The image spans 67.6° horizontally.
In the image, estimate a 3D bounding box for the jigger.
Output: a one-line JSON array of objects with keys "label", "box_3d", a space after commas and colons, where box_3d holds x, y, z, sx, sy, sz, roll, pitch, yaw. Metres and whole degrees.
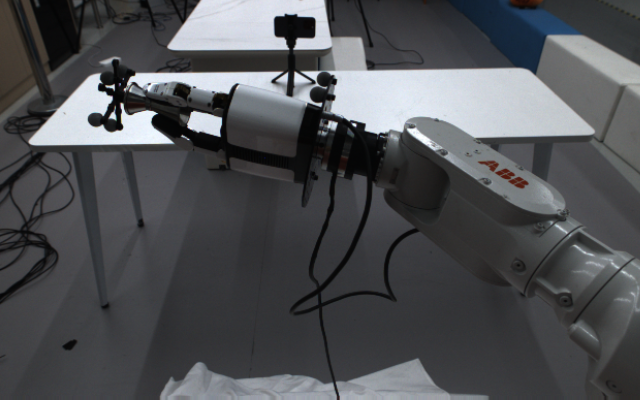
[{"label": "jigger", "box_3d": [-0.189, -0.118, 0.586, 0.071, 0.043, 0.043, 11, 35, 1]}]
